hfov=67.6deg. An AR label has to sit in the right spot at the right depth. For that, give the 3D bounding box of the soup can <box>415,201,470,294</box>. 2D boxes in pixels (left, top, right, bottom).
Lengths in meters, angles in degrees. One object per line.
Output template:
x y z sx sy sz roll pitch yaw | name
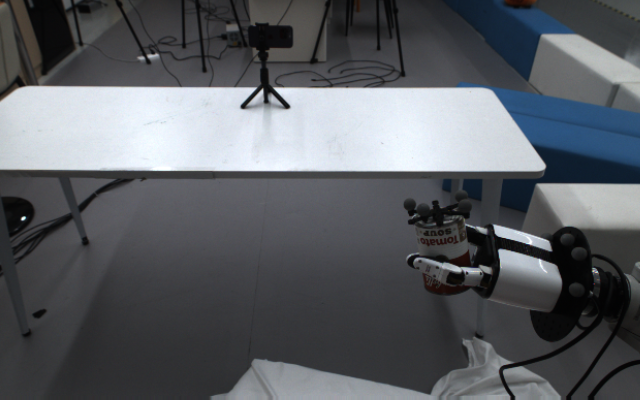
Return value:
0.170 0.067 0.658 0.067 0.101 0.067 -12 17 4 | soup can
